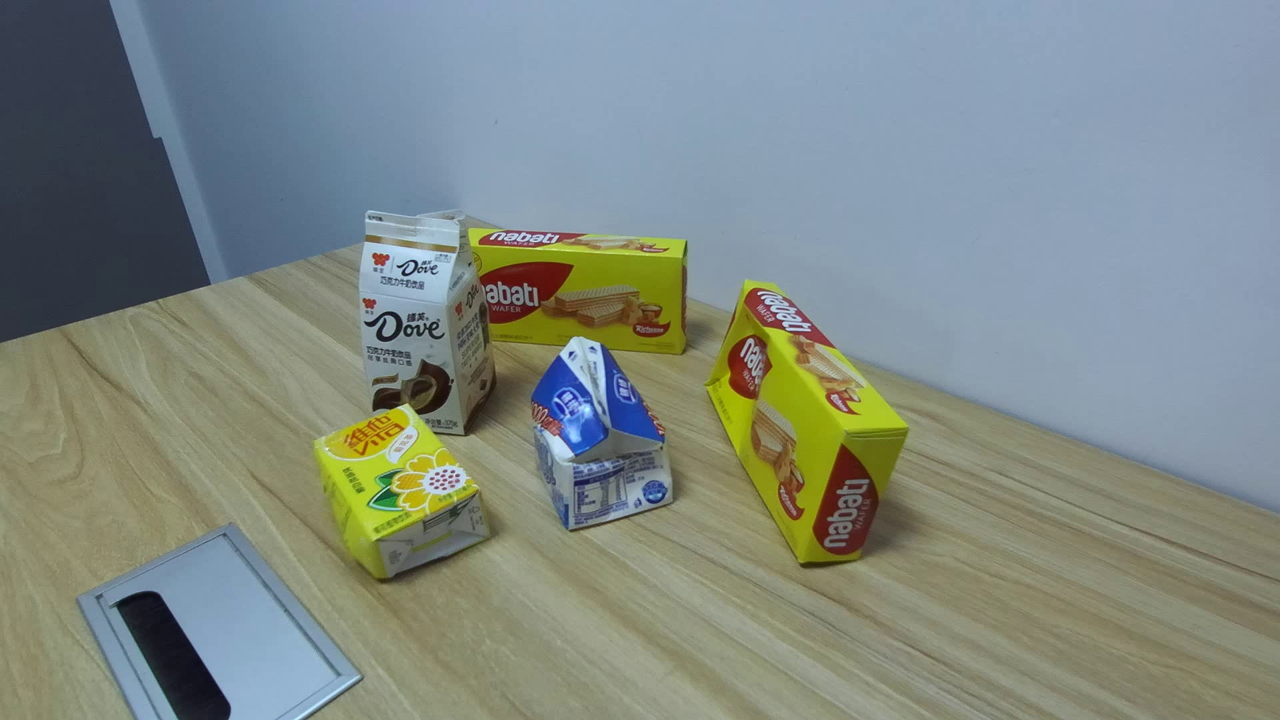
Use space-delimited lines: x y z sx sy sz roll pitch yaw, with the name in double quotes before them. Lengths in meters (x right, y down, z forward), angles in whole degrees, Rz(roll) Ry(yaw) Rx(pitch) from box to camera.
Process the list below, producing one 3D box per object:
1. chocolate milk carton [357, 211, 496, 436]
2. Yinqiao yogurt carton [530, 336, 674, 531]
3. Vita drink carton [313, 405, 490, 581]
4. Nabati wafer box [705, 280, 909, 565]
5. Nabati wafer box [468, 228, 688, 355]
"chocolate milk carton" -0.158 -0.032 0.512 0.084 0.155 0.073 4 31 9
"Yinqiao yogurt carton" -0.027 0.039 0.447 0.077 0.093 0.083 -12 32 -19
"Vita drink carton" -0.151 0.080 0.432 0.077 0.043 0.108 -24 40 -29
"Nabati wafer box" 0.095 0.028 0.465 0.042 0.096 0.202 2 29 -14
"Nabati wafer box" -0.058 -0.061 0.624 0.202 0.093 0.042 5 30 11
